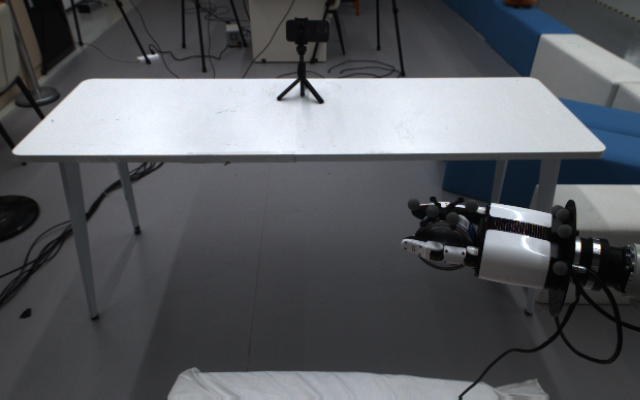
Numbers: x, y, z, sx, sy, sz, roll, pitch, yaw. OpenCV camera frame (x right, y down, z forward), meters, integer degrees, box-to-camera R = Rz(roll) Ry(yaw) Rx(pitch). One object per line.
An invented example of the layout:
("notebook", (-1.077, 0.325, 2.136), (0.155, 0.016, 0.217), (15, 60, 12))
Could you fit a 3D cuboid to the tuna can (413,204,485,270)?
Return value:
("tuna can", (0.184, 0.057, 0.700), (0.085, 0.085, 0.034), (15, 35, 18))
